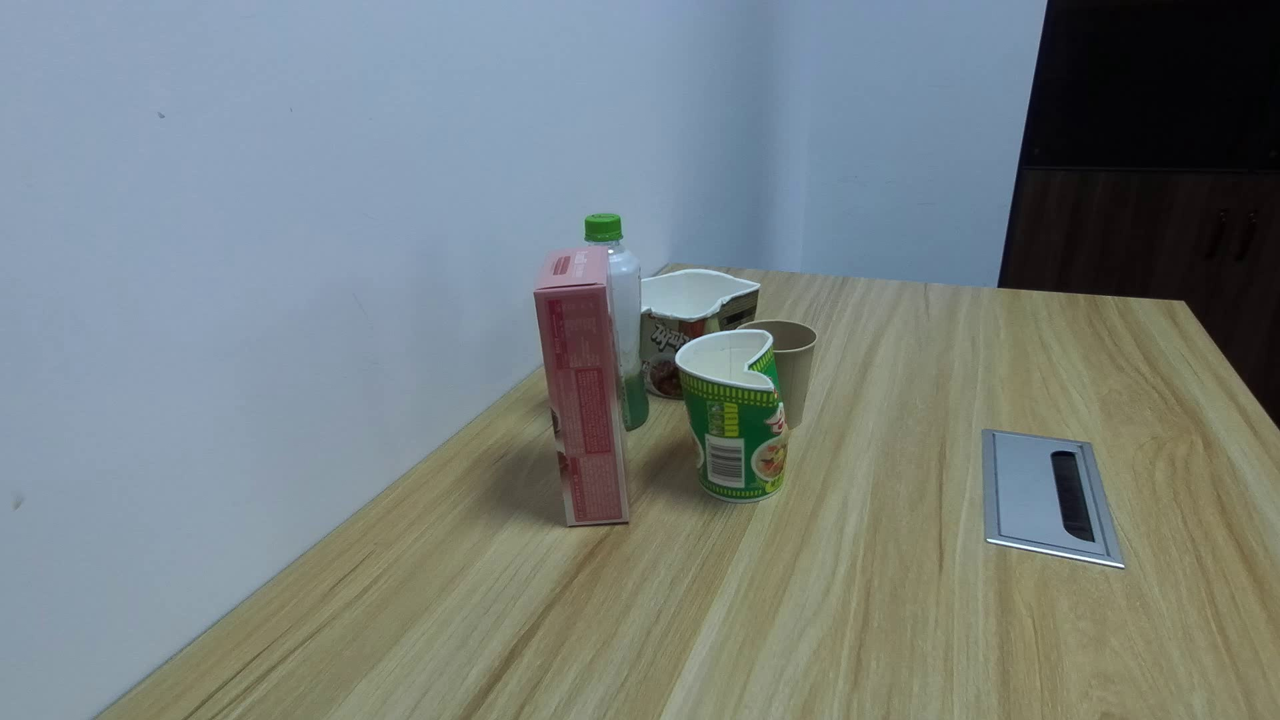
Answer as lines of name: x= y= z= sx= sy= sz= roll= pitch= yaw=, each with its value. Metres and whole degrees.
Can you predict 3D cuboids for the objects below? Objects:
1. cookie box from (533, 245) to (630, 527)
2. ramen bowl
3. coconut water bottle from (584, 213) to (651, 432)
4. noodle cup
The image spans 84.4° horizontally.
cookie box: x=-0.037 y=0.020 z=0.519 sx=0.048 sy=0.185 sz=0.096 roll=-4 pitch=25 yaw=0
ramen bowl: x=0.040 y=-0.029 z=0.721 sx=0.133 sy=0.097 sz=0.114 roll=14 pitch=31 yaw=29
coconut water bottle: x=-0.026 y=-0.031 z=0.625 sx=0.063 sy=0.189 sz=0.063 roll=-2 pitch=24 yaw=1
noodle cup: x=0.074 y=0.043 z=0.538 sx=0.086 sy=0.109 sz=0.094 roll=11 pitch=30 yaw=28
